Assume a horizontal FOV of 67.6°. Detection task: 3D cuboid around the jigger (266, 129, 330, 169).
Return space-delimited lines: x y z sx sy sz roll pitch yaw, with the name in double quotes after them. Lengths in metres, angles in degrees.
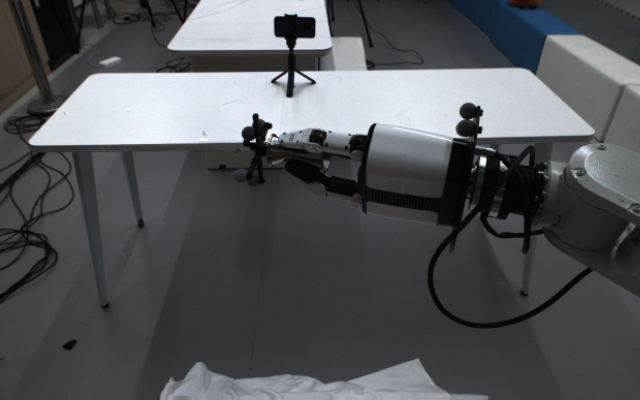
-0.021 -0.062 0.571 0.071 0.043 0.043 4 34 13 "jigger"
